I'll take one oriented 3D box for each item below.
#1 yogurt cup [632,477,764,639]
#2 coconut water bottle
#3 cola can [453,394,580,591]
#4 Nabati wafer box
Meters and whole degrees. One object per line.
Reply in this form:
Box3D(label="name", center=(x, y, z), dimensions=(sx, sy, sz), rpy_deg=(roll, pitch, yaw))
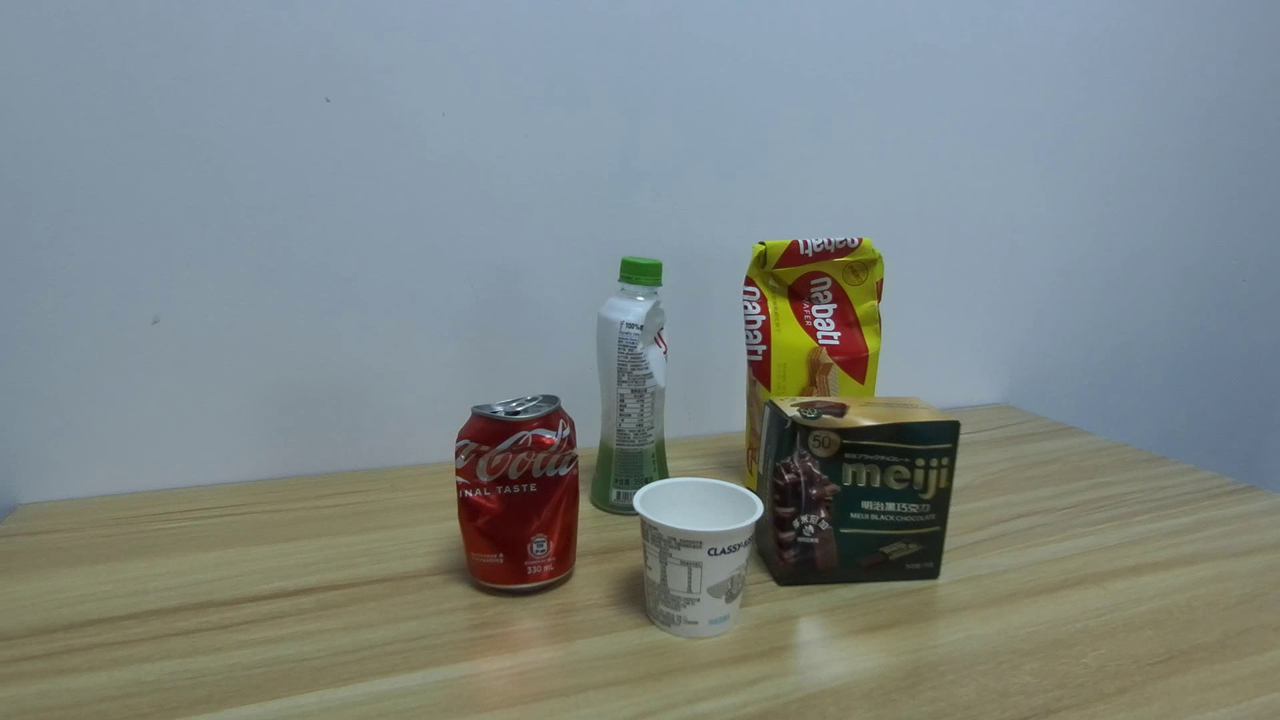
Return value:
Box3D(label="yogurt cup", center=(0.031, 0.110, 0.395), dimensions=(0.072, 0.068, 0.072), rpy_deg=(1, 14, 0))
Box3D(label="coconut water bottle", center=(-0.004, 0.018, 0.533), dimensions=(0.069, 0.186, 0.069), rpy_deg=(2, 10, 0))
Box3D(label="cola can", center=(-0.071, 0.079, 0.431), dimensions=(0.069, 0.112, 0.065), rpy_deg=(1, 13, 0))
Box3D(label="Nabati wafer box", center=(0.136, 0.008, 0.560), dimensions=(0.113, 0.205, 0.042), rpy_deg=(-4, 12, -19))
